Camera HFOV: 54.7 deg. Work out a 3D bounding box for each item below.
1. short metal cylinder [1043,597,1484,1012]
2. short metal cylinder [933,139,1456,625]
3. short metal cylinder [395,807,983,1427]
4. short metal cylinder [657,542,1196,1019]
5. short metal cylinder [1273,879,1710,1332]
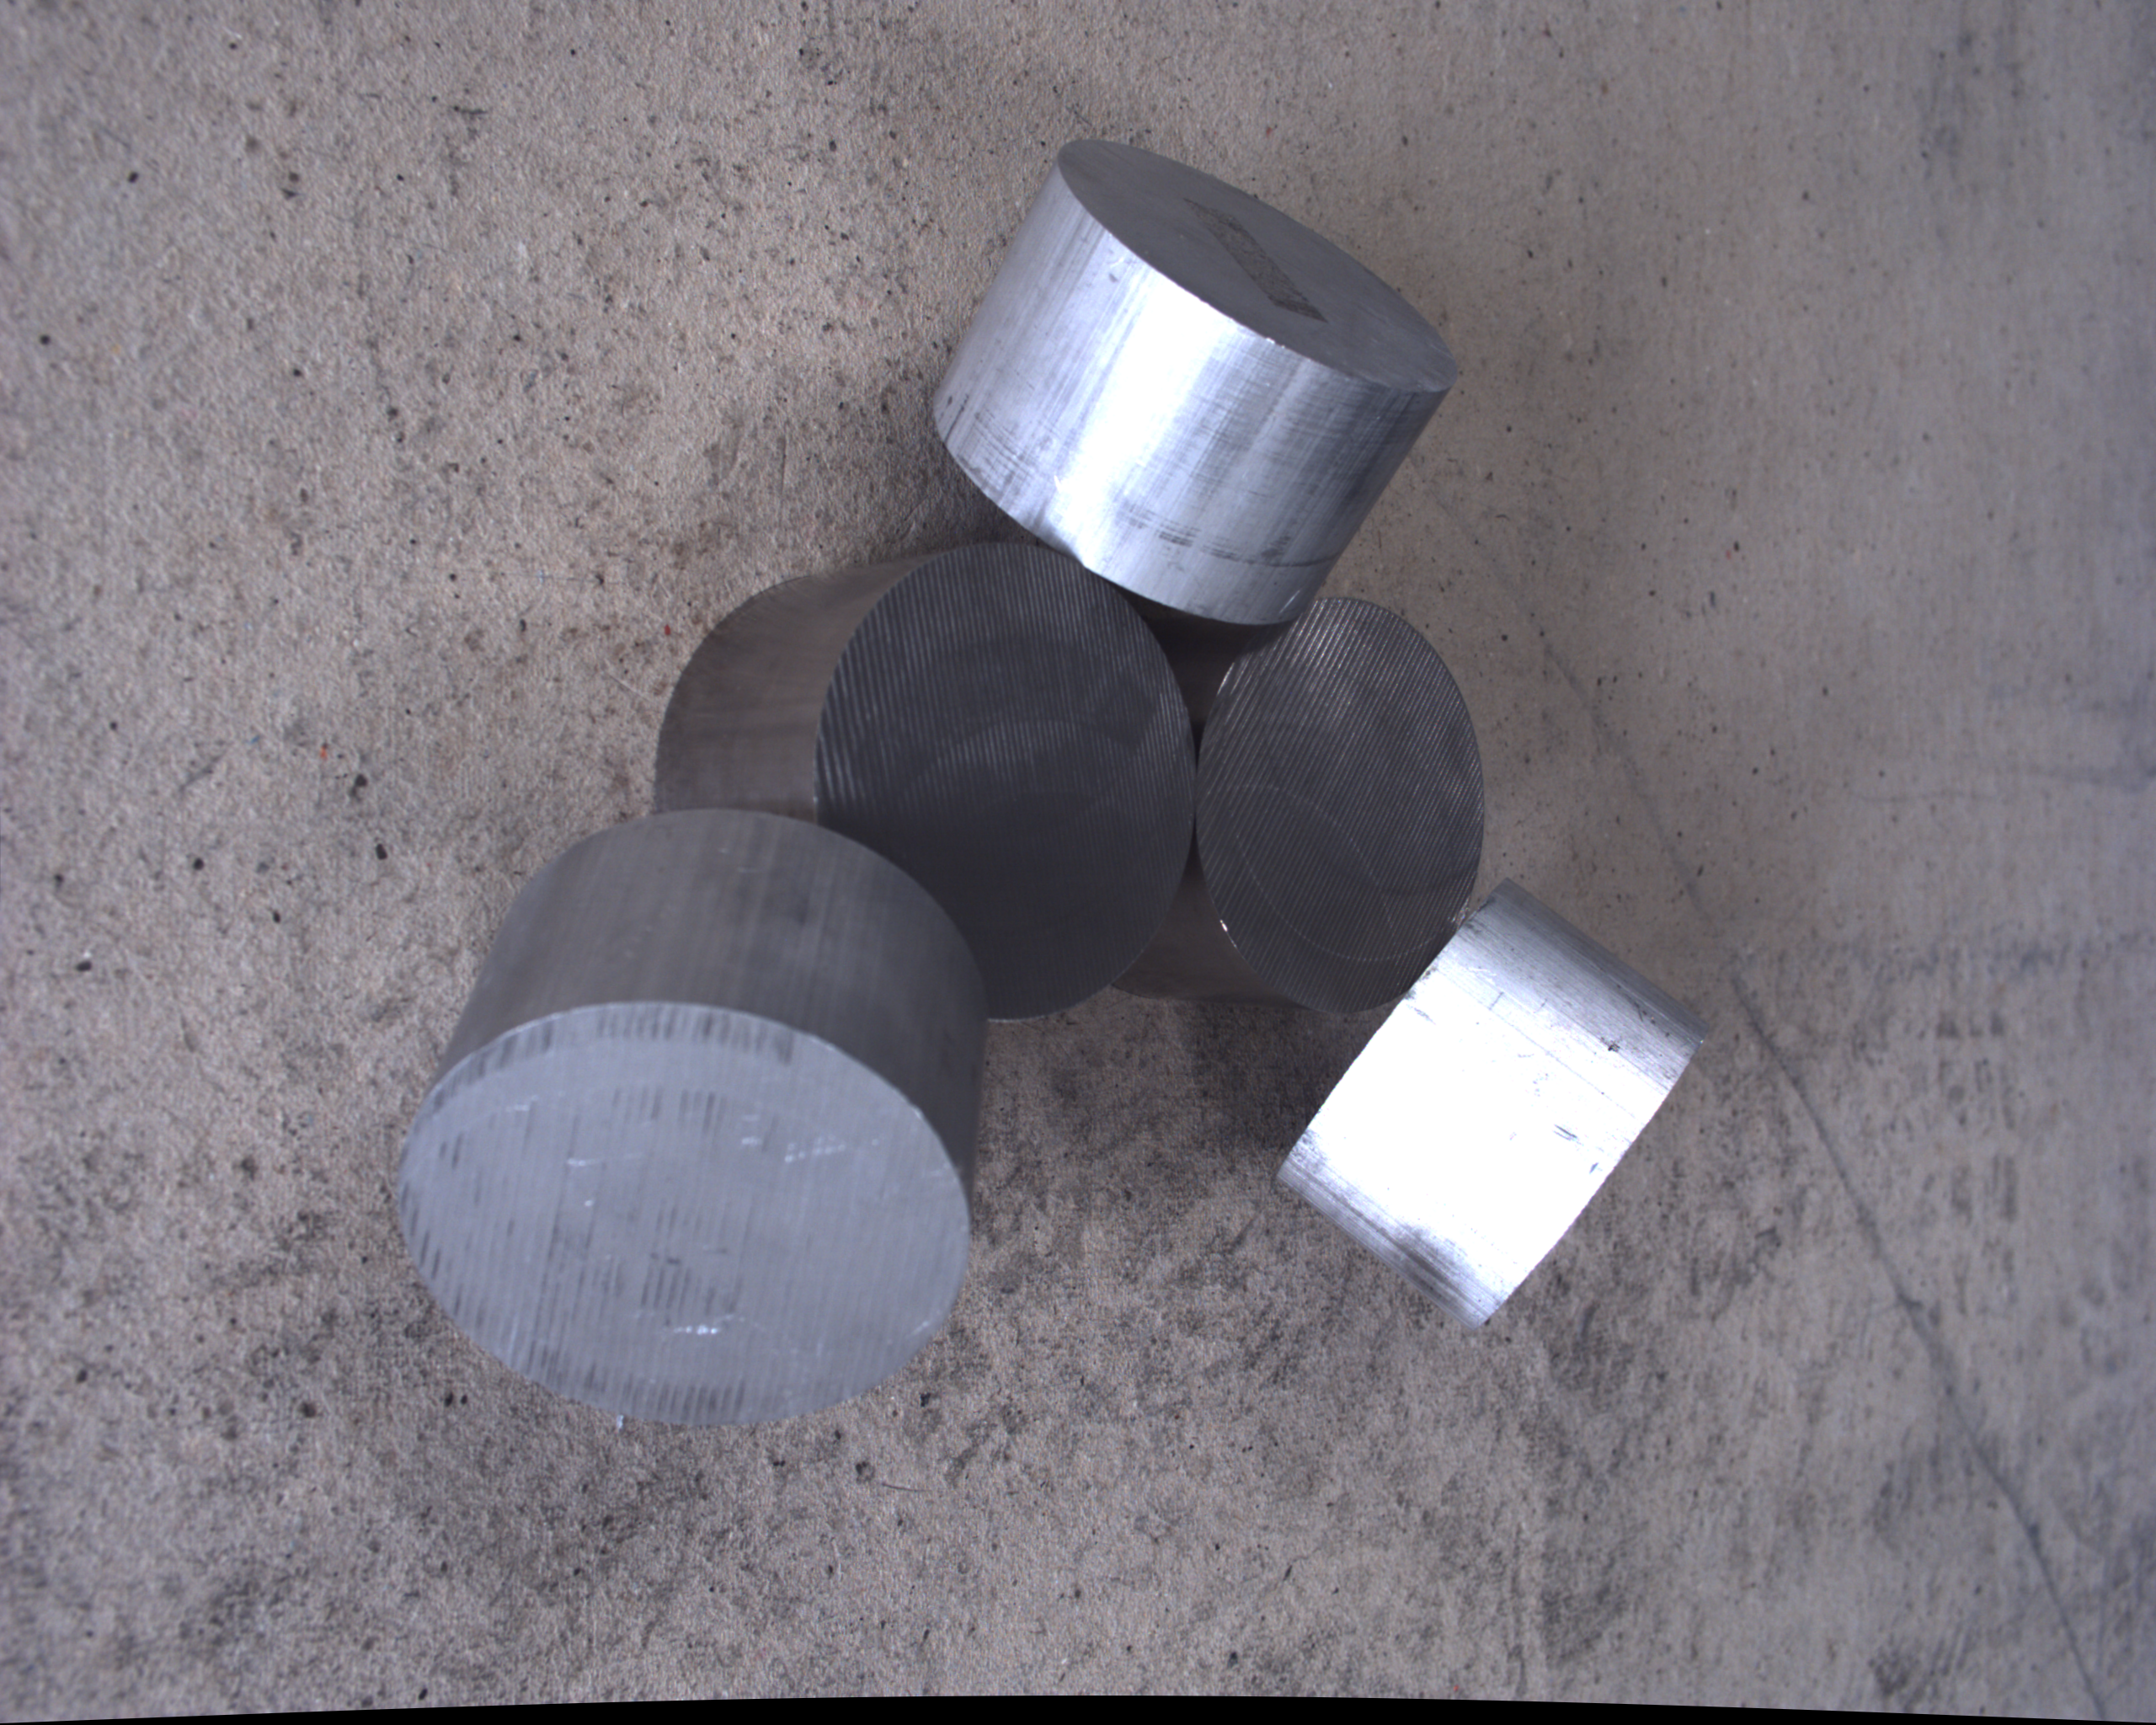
[{"bbox_3d":[0.036,-0.011,0.420,0.081,0.050,0.080,0,90,-40],"label":"short metal cylinder"},{"bbox_3d":[0.021,-0.088,0.380,0.081,0.080,0.050,2,131,-40],"label":"short metal cylinder"},{"bbox_3d":[-0.055,0.039,0.316,0.080,0.080,0.050,54,19,-27],"label":"short metal cylinder"},{"bbox_3d":[-0.026,-0.014,0.368,0.081,0.050,0.080,0,90,-40],"label":"short metal cylinder"},{"bbox_3d":[0.085,0.050,0.434,0.050,0.080,0.080,38,58,12],"label":"short metal cylinder"}]
